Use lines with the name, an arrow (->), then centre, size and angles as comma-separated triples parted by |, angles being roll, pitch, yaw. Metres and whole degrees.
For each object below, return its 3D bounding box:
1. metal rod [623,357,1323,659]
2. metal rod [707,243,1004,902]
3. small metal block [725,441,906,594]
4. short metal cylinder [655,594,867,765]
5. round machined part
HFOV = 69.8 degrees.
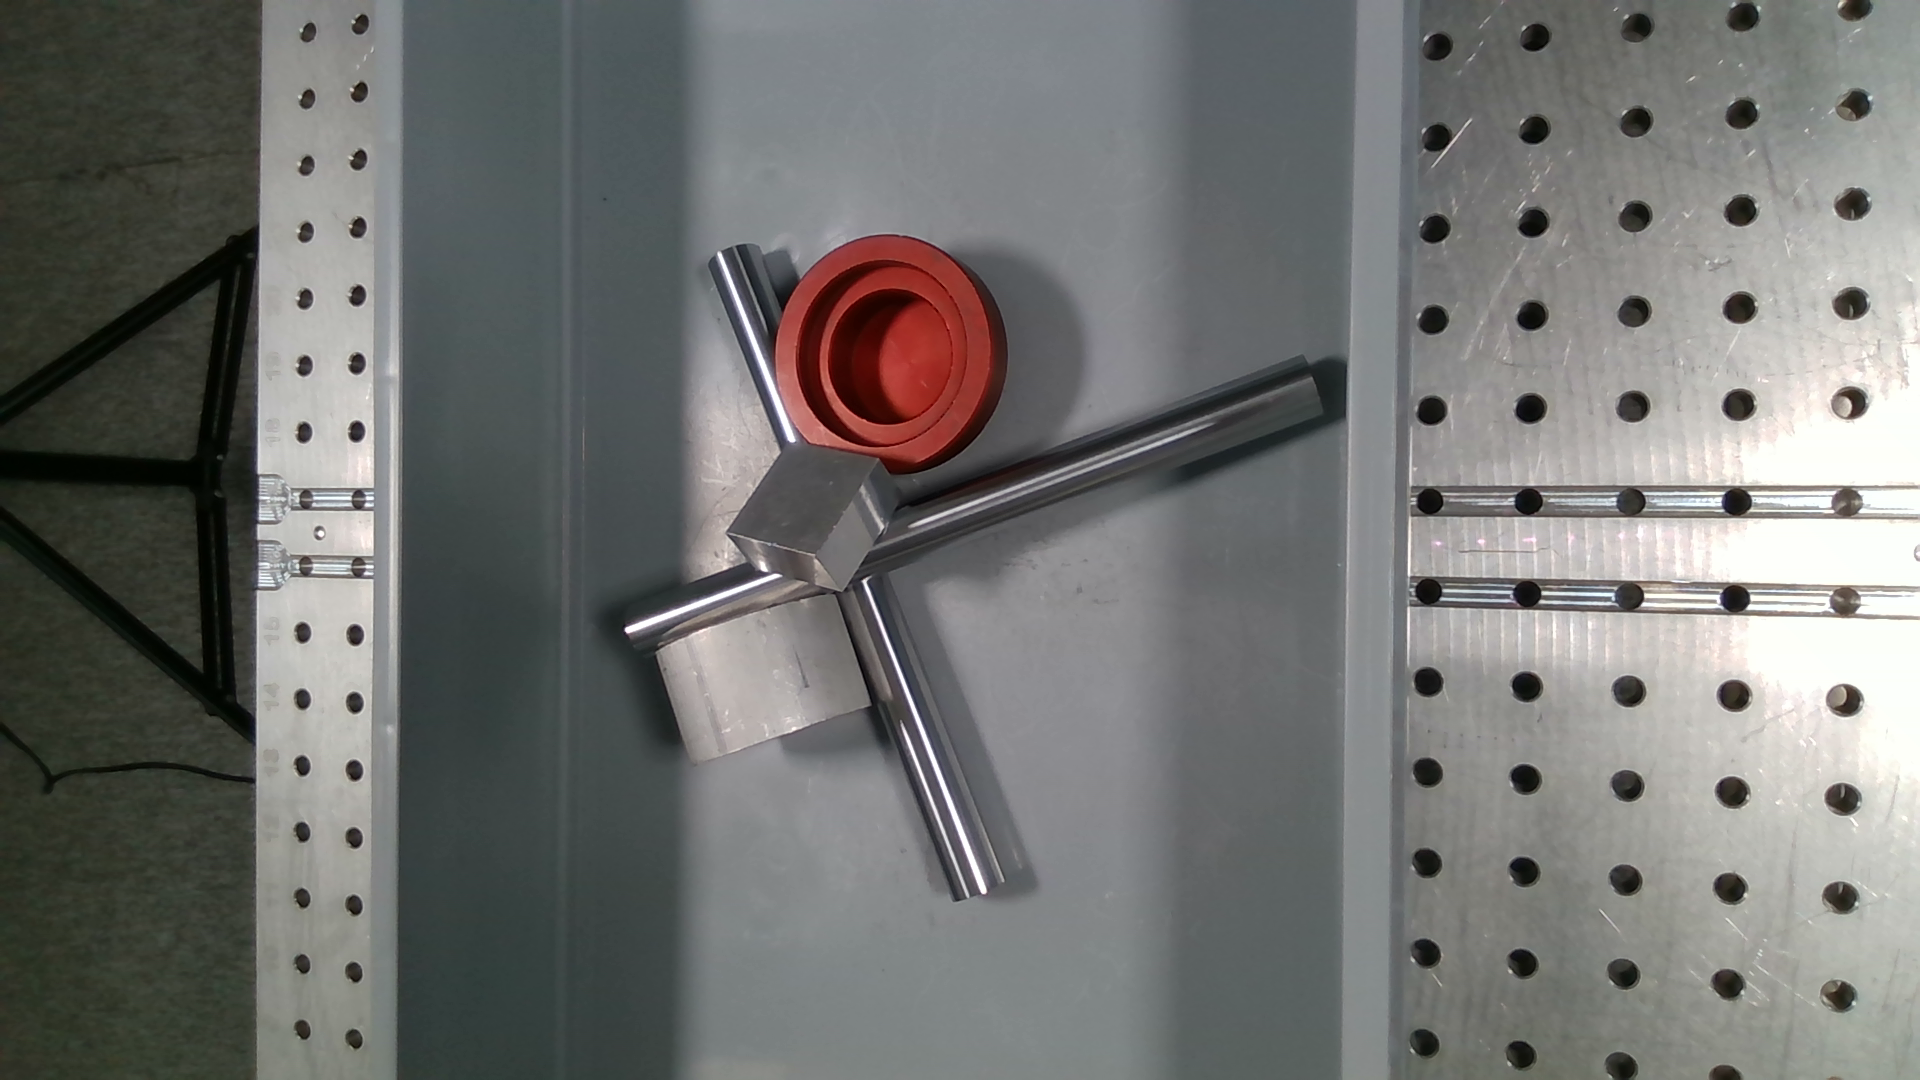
metal rod -> -0.001, -0.010, 0.566 | 0.300, 0.025, 0.025 | -20, 84, 12
metal rod -> -0.048, 0.010, 0.602 | 0.025, 0.025, 0.300 | -24, 82, 19
small metal block -> -0.059, -0.010, 0.562 | 0.050, 0.025, 0.050 | 13, 61, 36
short metal cylinder -> -0.084, 0.060, 0.587 | 0.080, 0.080, 0.050 | -21, 83, 19
round machined part -> -0.026, -0.077, 0.584 | 0.098, 0.042, 0.098 | 0, 91, 20
